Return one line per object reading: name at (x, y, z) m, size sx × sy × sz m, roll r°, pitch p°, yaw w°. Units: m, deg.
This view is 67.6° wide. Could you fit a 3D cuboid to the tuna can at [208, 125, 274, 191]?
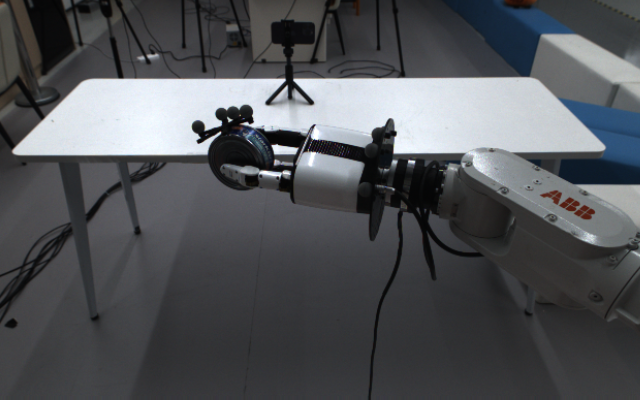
tuna can at (-0.104, -0.050, 0.655) m, size 0.085 × 0.085 × 0.034 m, roll 11°, pitch 34°, yaw 13°
